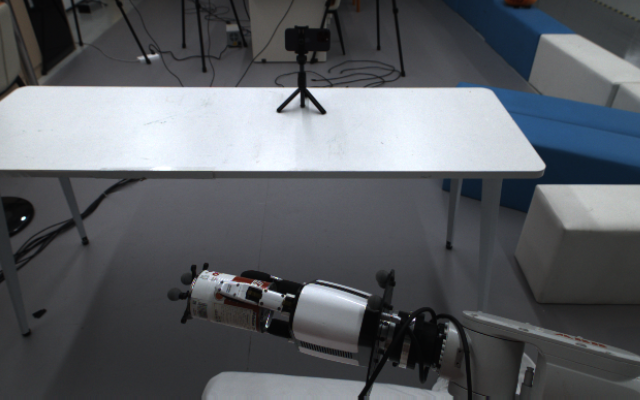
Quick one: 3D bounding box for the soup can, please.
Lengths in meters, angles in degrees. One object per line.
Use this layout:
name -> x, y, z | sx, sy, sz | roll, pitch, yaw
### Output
soup can -> -0.114, 0.136, 0.648 | 0.101, 0.067, 0.067 | 9, 35, 10
